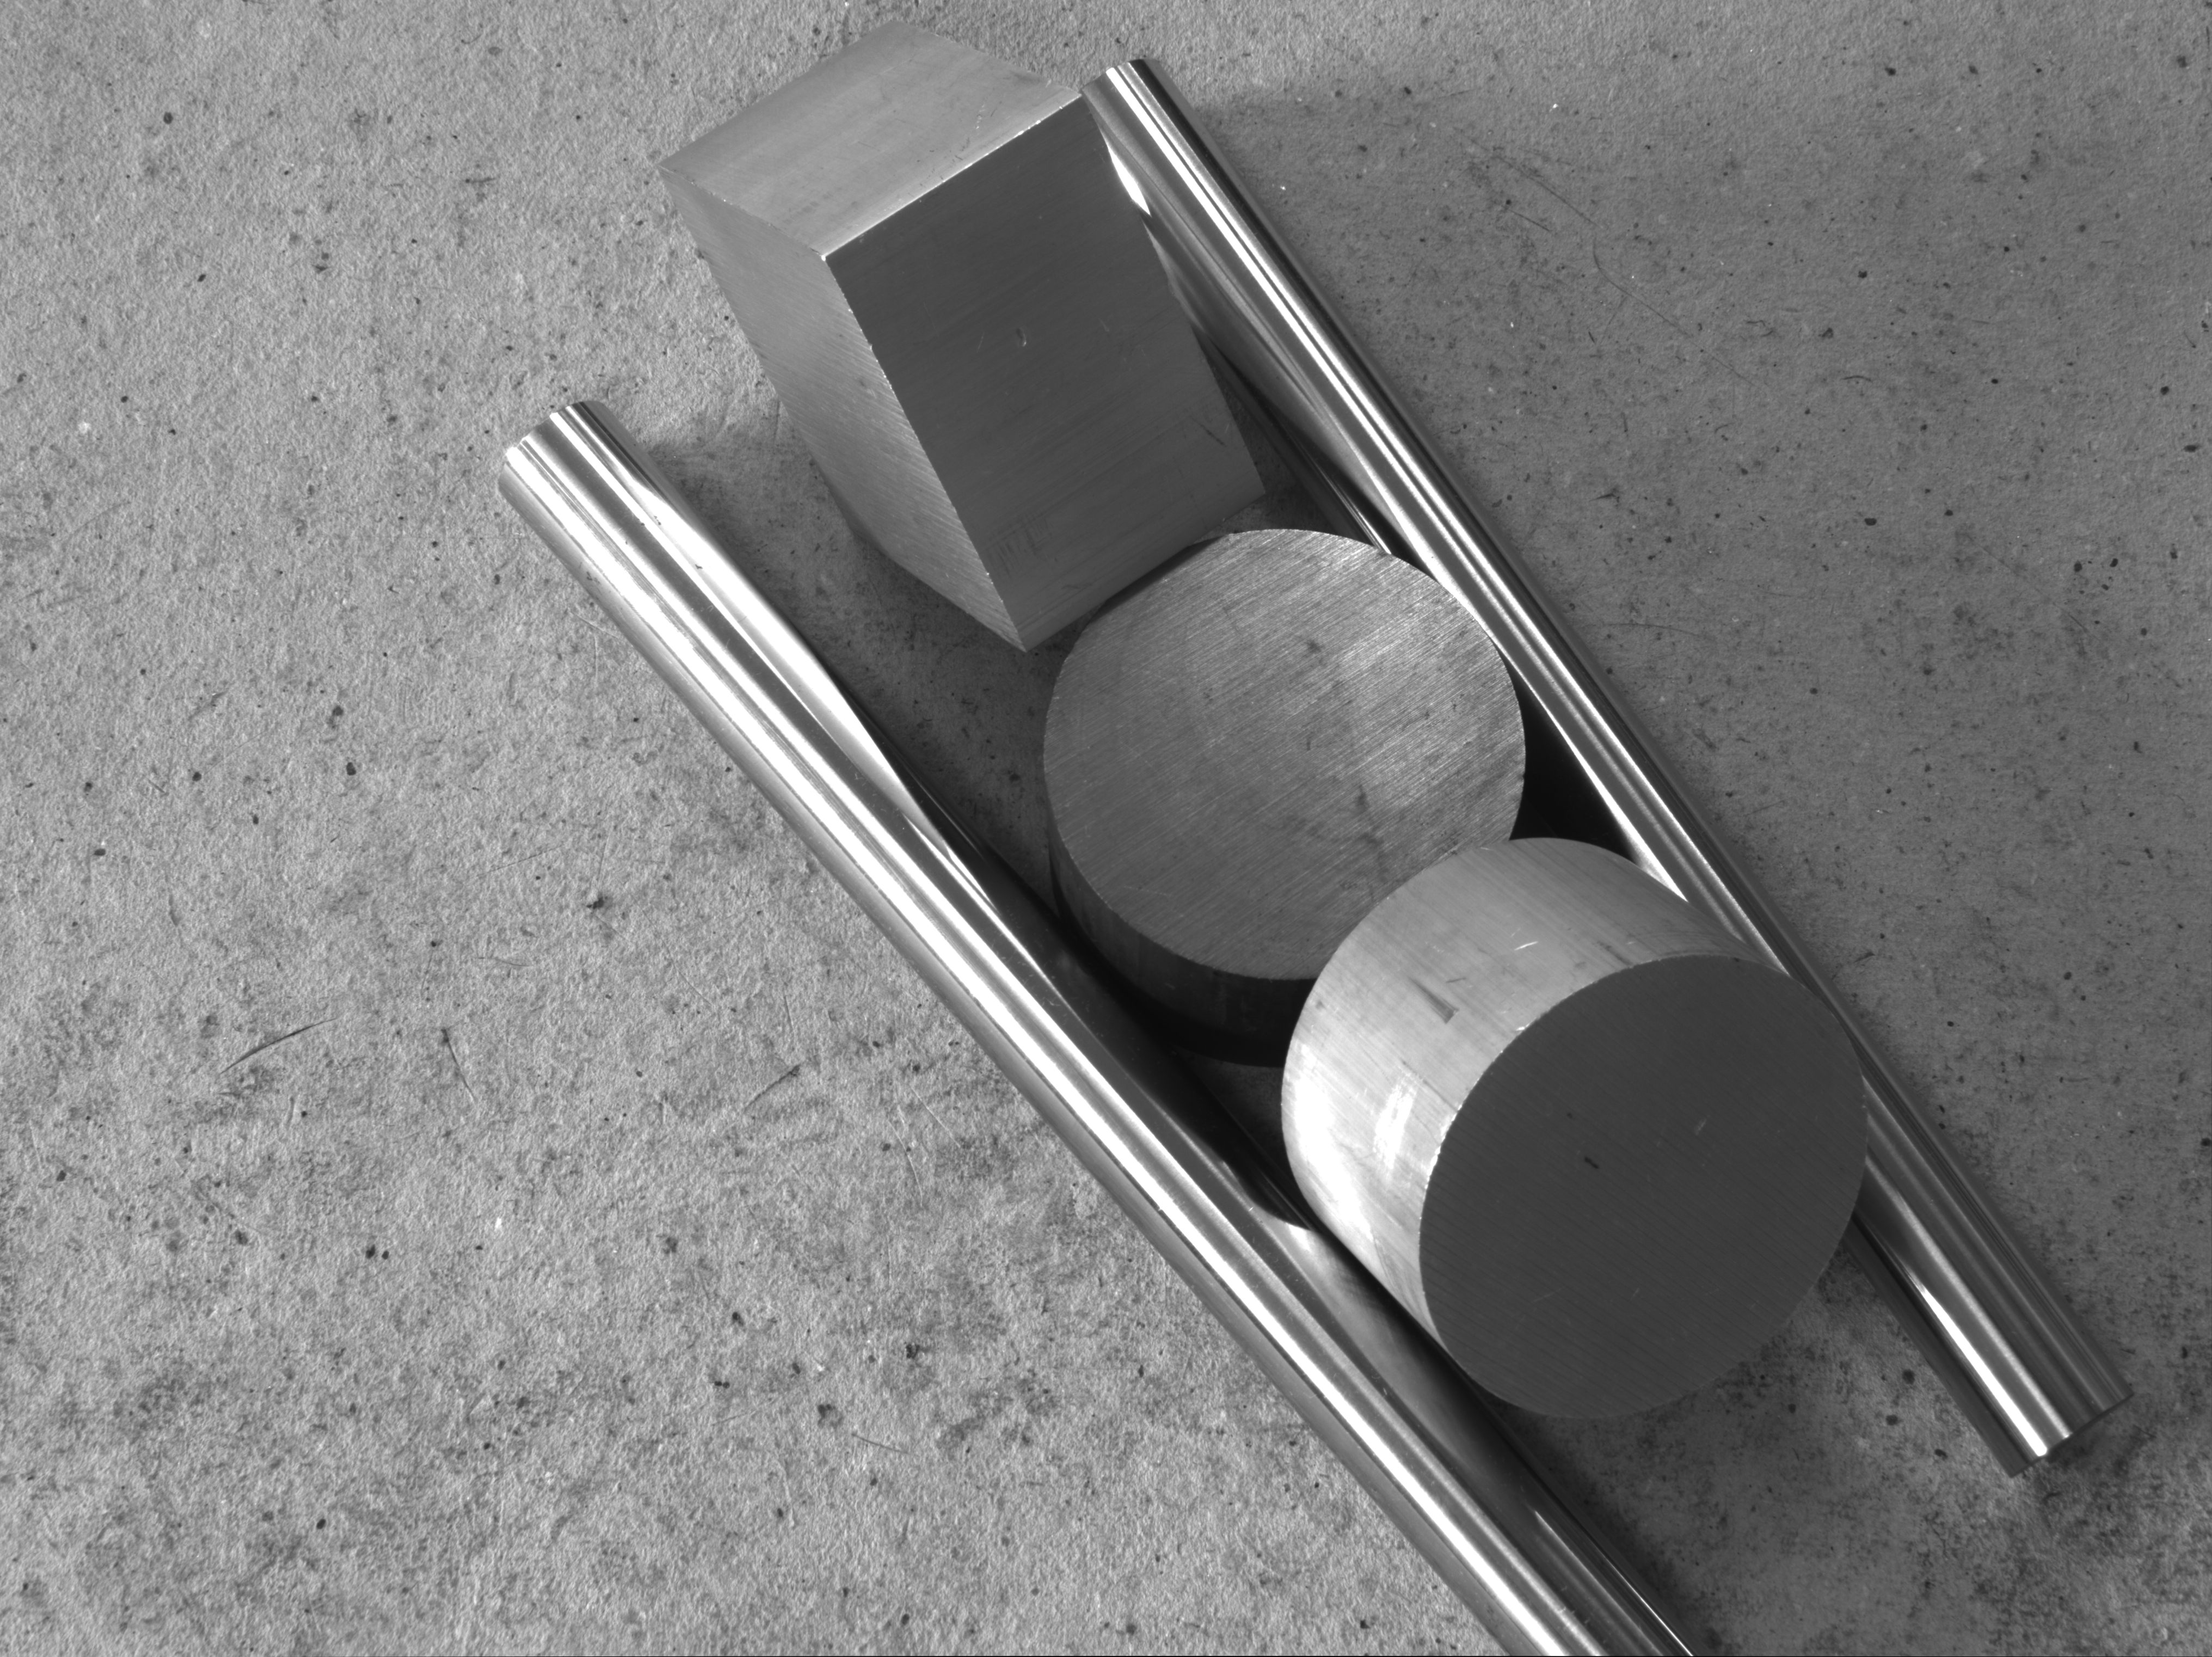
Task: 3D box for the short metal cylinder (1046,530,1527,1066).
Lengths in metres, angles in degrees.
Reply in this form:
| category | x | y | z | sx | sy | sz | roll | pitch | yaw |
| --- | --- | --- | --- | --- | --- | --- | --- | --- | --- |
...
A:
| category | x | y | z | sx | sy | sz | roll | pitch | yaw |
| --- | --- | --- | --- | --- | --- | --- | --- | --- | --- |
| short metal cylinder | 0.030 | -0.005 | 0.634 | 0.080 | 0.050 | 0.080 | 0 | 70 | 0 |

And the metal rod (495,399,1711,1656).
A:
| category | x | y | z | sx | sy | sz | roll | pitch | yaw |
| --- | --- | --- | --- | --- | --- | --- | --- | --- | --- |
| metal rod | -0.005 | 0.038 | 0.631 | 0.025 | 0.025 | 0.300 | -38 | 74 | -13 |

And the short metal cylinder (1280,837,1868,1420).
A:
| category | x | y | z | sx | sy | sz | roll | pitch | yaw |
| --- | --- | --- | --- | --- | --- | --- | --- | --- | --- |
| short metal cylinder | 0.075 | 0.048 | 0.592 | 0.080 | 0.080 | 0.050 | -30 | 30 | -10 |

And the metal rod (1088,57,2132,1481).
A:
| category | x | y | z | sx | sy | sz | roll | pitch | yaw |
| --- | --- | --- | --- | --- | --- | --- | --- | --- | --- |
| metal rod | 0.080 | -0.018 | 0.652 | 0.025 | 0.025 | 0.300 | -31 | 73 | -10 |

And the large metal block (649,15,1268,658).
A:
| category | x | y | z | sx | sy | sz | roll | pitch | yaw |
| --- | --- | --- | --- | --- | --- | --- | --- | --- | --- |
| large metal block | -0.026 | -0.086 | 0.632 | 0.050 | 0.080 | 0.080 | -35 | 32 | -12 |
